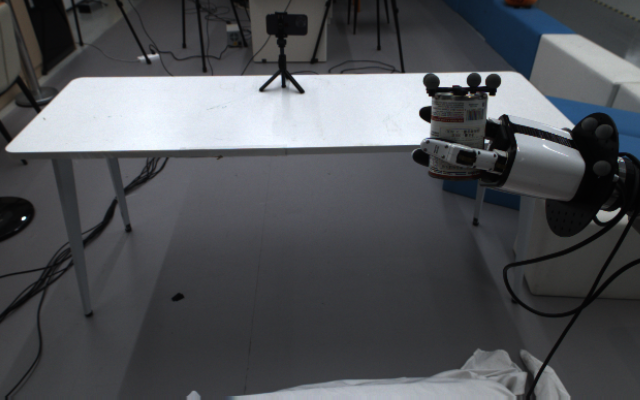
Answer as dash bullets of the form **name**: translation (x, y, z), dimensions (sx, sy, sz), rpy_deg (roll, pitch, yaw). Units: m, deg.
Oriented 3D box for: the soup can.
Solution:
- **soup can**: translation (0.173, -0.081, 0.602), dimensions (0.067, 0.101, 0.067), rpy_deg (-1, 17, 0)
